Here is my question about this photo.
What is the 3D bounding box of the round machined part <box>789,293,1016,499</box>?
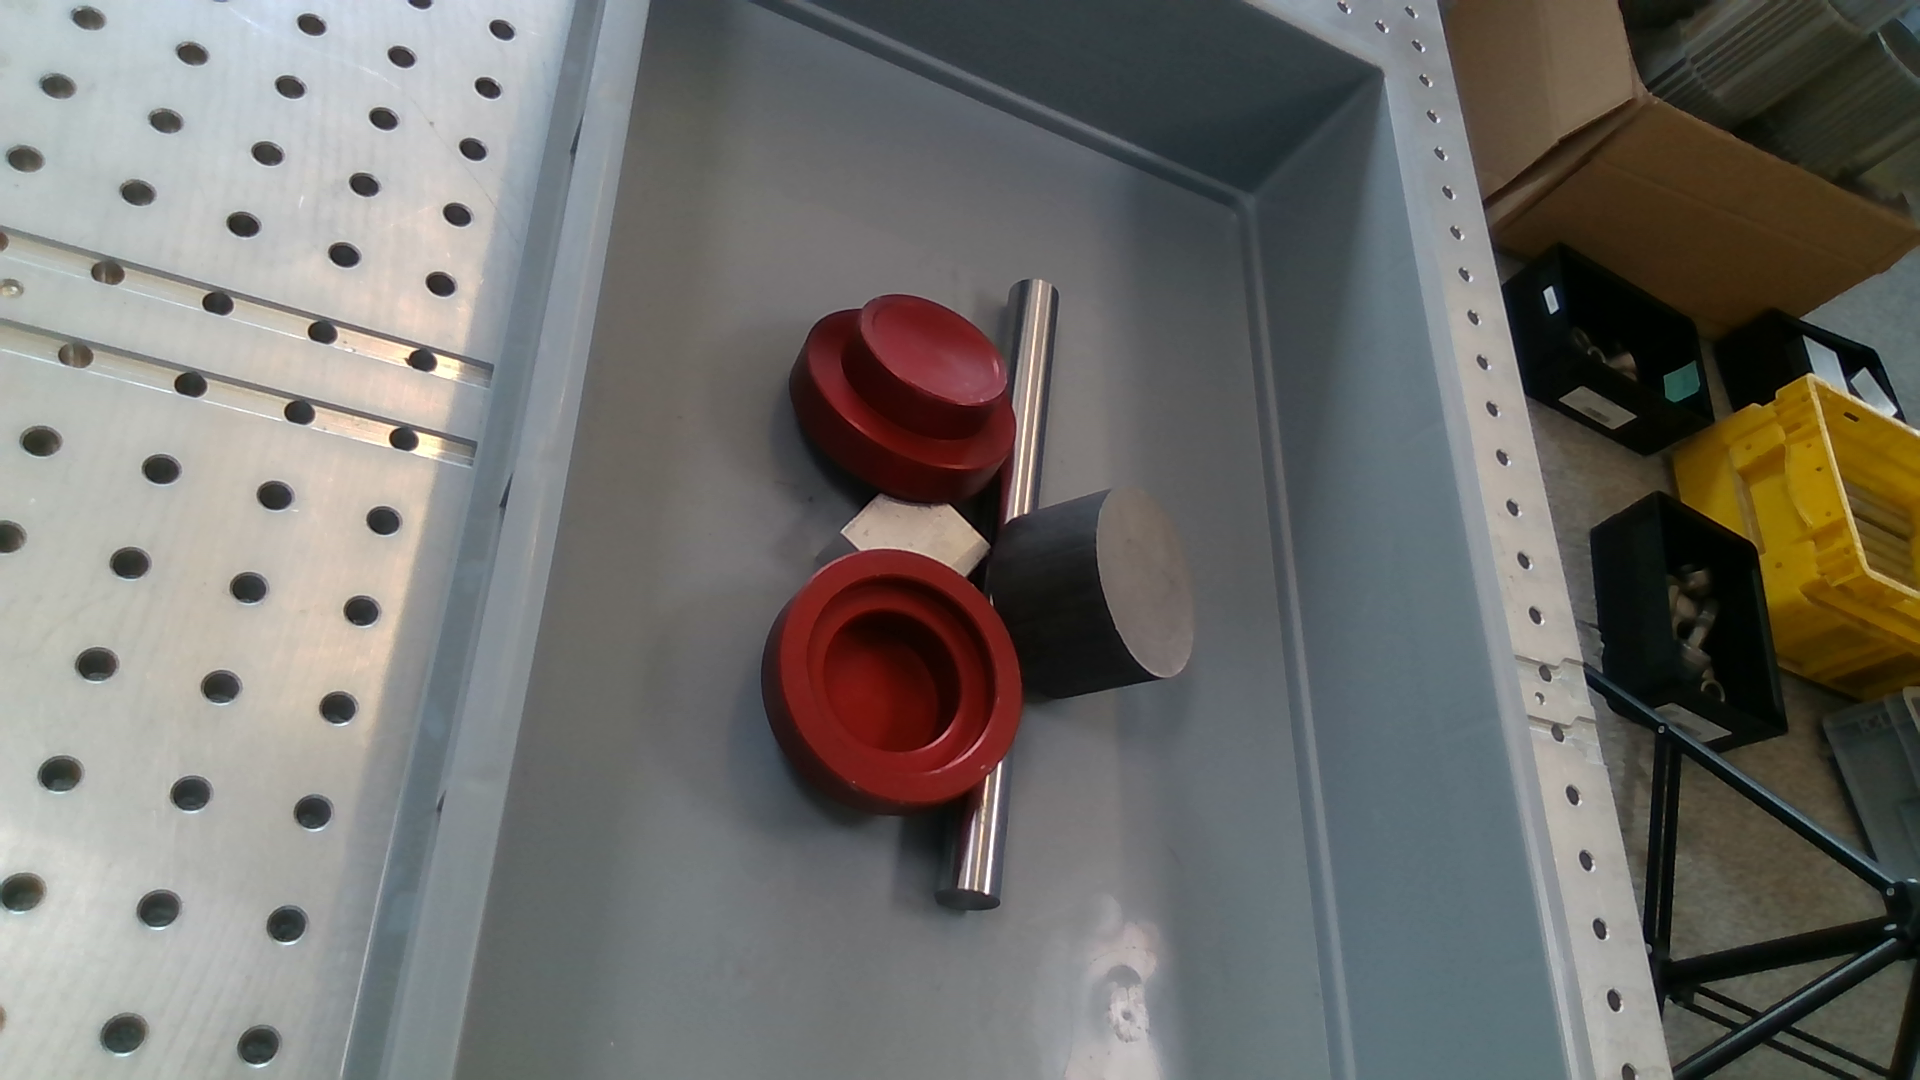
[{"bbox_3d":[-0.019,-0.066,0.581,0.098,0.042,0.098,20,38,-17],"label":"round machined part"}]

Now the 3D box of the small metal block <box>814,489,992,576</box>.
[{"bbox_3d":[-0.023,0.005,0.568,0.050,0.025,0.050,45,51,-3],"label":"small metal block"}]

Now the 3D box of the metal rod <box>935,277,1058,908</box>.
[{"bbox_3d":[0.019,0.007,0.593,0.025,0.025,0.299,21,56,-21],"label":"metal rod"}]

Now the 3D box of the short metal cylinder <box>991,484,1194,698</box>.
[{"bbox_3d":[0.056,0.022,0.573,0.080,0.050,0.080,28,54,-48],"label":"short metal cylinder"}]

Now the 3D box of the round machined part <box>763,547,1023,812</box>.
[{"bbox_3d":[-0.029,0.056,0.523,0.098,0.042,0.098,12,63,-24],"label":"round machined part"}]
